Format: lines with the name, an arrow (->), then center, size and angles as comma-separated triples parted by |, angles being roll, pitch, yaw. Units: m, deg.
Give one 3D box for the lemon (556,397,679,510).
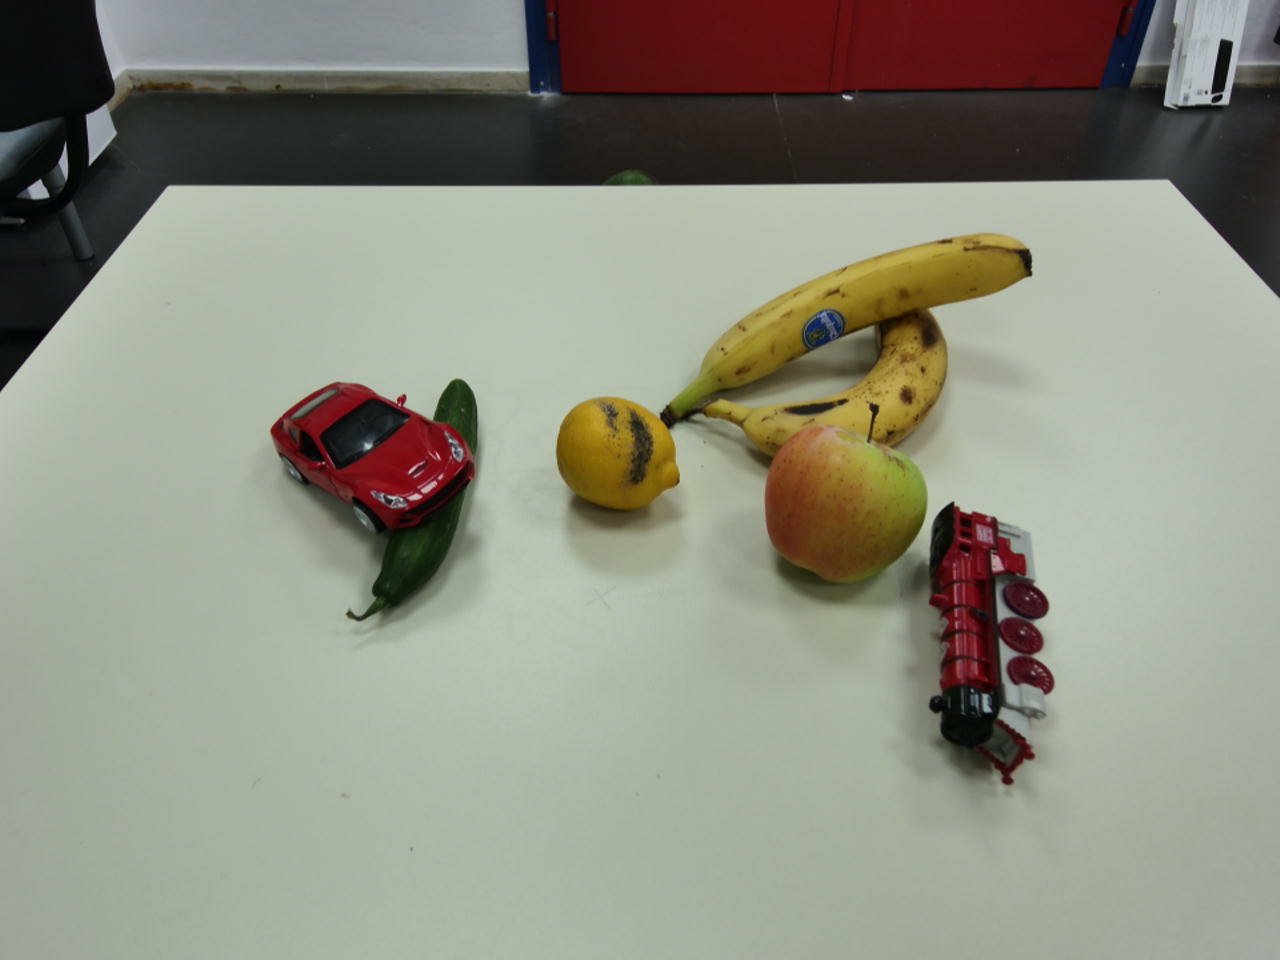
lemon -> -0.013, -0.014, 0.514 | 0.061, 0.056, 0.058 | -6, 39, -6
